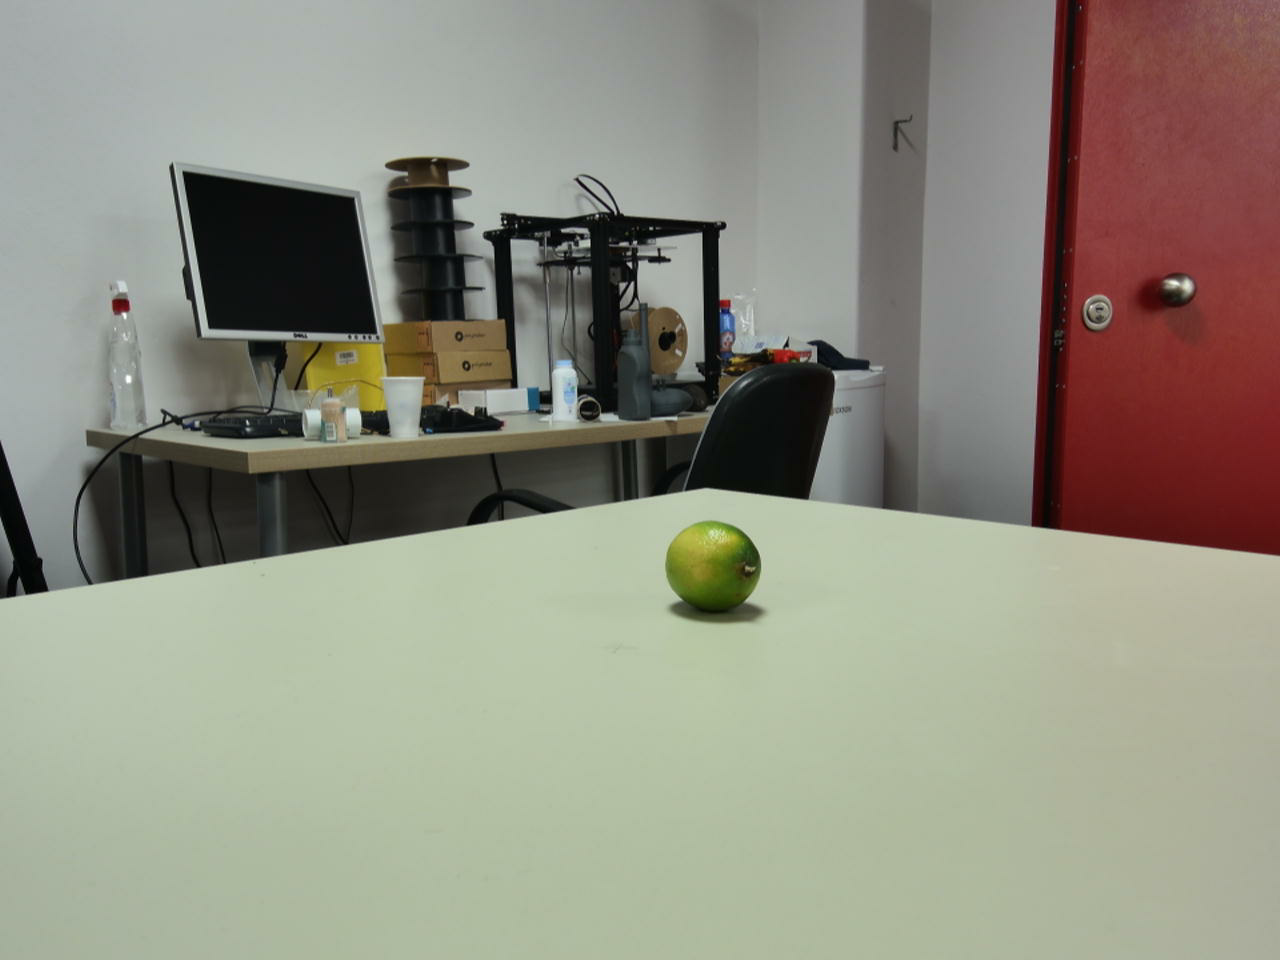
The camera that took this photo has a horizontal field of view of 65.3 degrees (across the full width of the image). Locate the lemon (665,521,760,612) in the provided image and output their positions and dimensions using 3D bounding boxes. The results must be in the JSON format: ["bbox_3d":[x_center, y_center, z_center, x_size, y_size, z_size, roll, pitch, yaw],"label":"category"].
[{"bbox_3d":[0.042,0.049,0.574,0.054,0.050,0.055,0,5,7],"label":"lemon"}]
